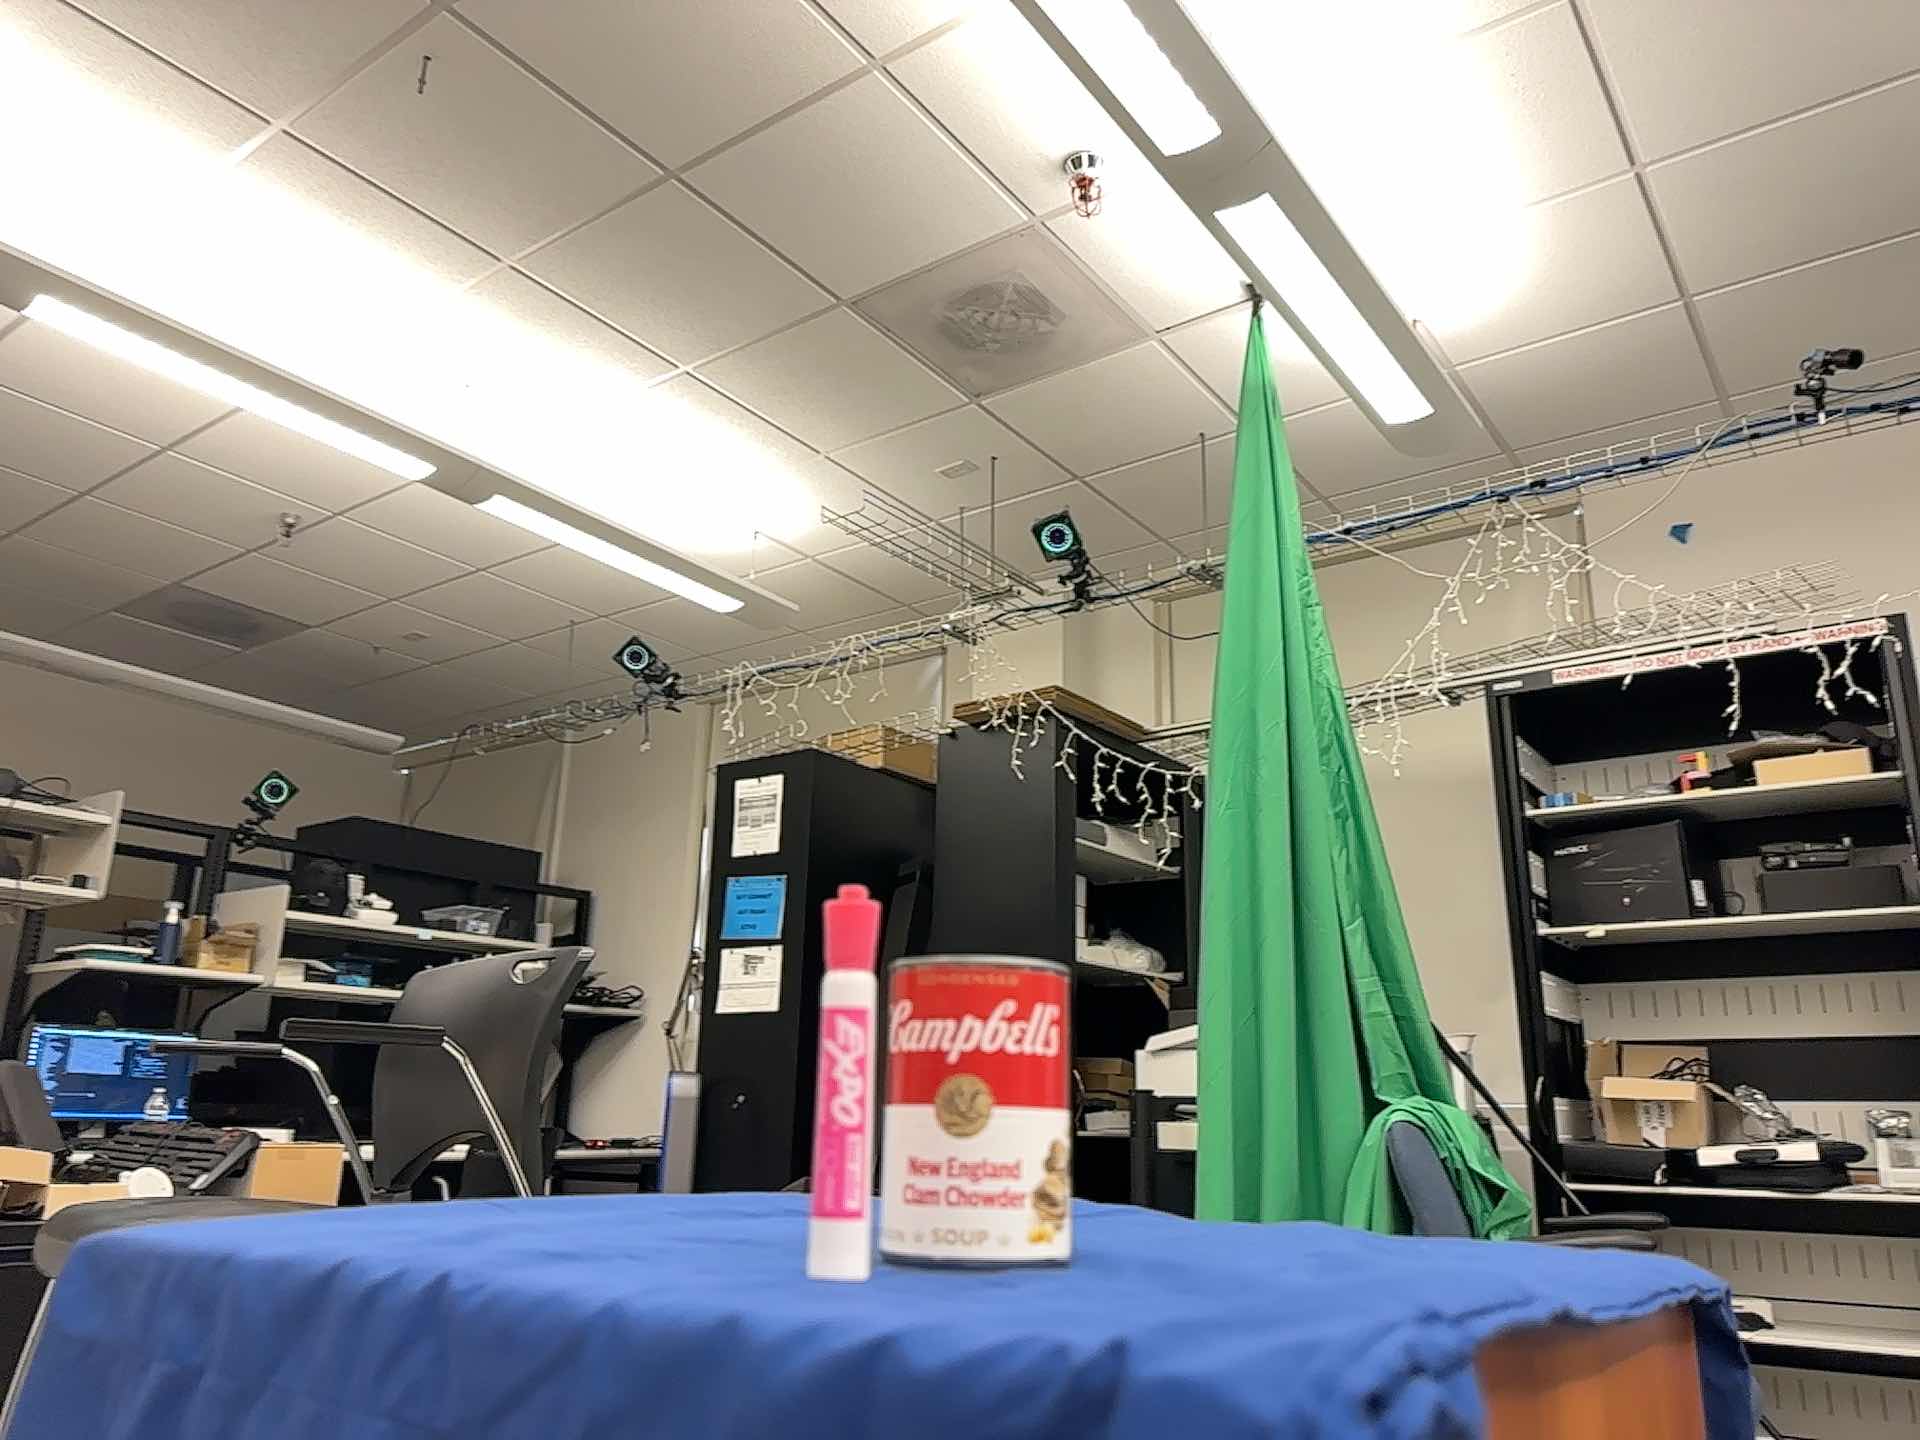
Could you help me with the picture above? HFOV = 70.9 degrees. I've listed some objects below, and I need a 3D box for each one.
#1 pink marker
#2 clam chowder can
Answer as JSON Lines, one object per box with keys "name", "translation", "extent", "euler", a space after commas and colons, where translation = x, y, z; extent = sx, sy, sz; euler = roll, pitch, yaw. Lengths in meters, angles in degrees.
{"name": "pink marker", "translation": [-0.037, 0.114, 0.435], "extent": [0.020, 0.121, 0.020], "euler": [1, -15, 0]}
{"name": "clam chowder can", "translation": [0.006, 0.138, 0.485], "extent": [0.068, 0.102, 0.068], "euler": [1, -14, 0]}
